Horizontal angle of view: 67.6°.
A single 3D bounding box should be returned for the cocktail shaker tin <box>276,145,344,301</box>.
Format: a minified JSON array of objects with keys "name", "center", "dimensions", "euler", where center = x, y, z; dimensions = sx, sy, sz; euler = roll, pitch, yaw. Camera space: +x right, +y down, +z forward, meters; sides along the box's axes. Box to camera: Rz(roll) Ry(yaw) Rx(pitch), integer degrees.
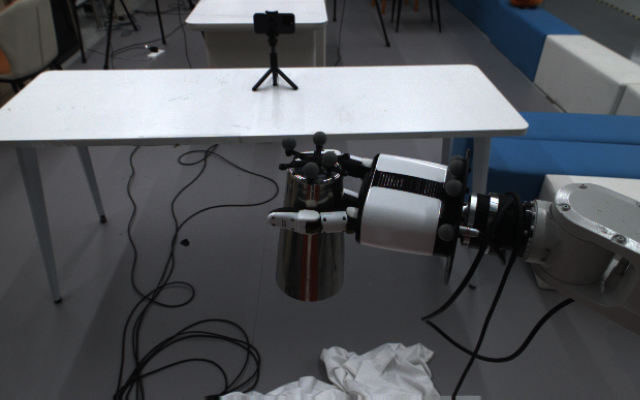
[{"name":"cocktail shaker tin","center":[-0.007,0.031,0.612],"dimensions":[0.093,0.170,0.093],"euler":[3,33,-2]}]
